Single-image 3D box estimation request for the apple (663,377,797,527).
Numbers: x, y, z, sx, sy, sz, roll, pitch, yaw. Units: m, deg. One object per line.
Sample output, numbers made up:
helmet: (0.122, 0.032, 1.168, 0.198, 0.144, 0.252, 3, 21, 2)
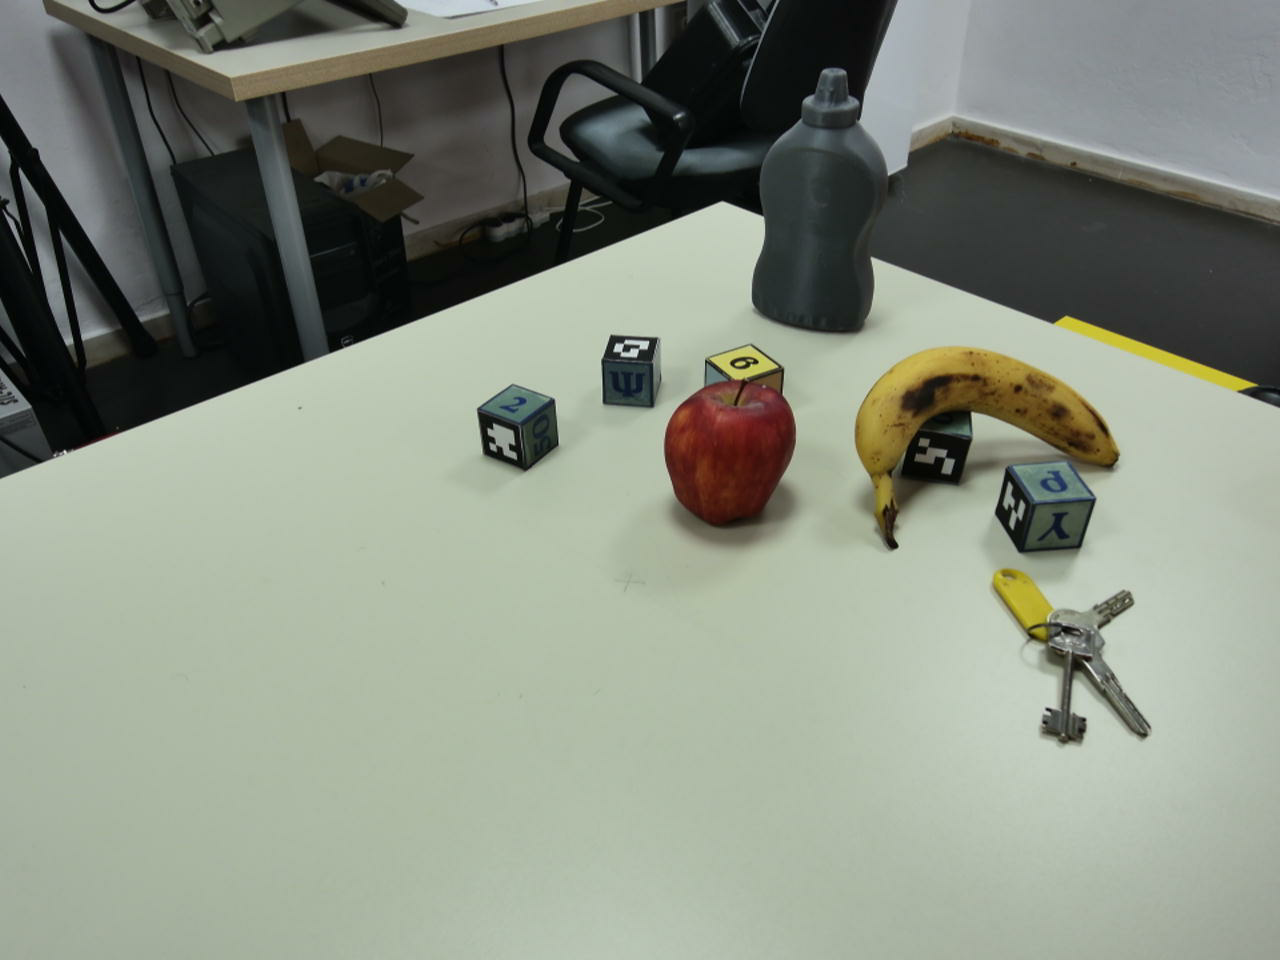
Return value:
apple: (0.055, -0.023, 0.604, 0.083, 0.090, 0.083, -1, 36, 1)
